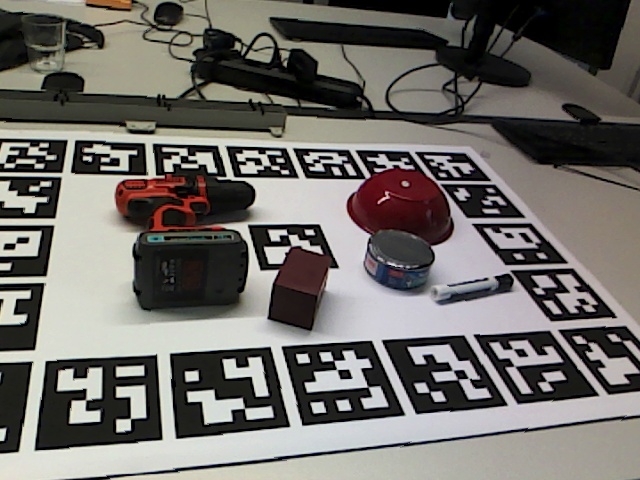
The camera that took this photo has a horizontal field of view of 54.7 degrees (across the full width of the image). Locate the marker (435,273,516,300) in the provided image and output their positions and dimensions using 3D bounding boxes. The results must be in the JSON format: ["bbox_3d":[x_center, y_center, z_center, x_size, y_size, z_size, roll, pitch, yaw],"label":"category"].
[{"bbox_3d":[0.199,0.057,0.778,0.120,0.019,0.020,-7,39,-26],"label":"marker"}]

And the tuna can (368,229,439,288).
[{"bbox_3d":[0.105,0.023,0.789,0.085,0.033,0.086,9,33,-7],"label":"tuna can"}]

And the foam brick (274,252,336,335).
[{"bbox_3d":[-0.016,0.060,0.697,0.051,0.052,0.078,14,35,1],"label":"foam brick"}]

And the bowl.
[{"bbox_3d":[0.119,-0.053,0.905,0.161,0.055,0.162,4,28,-3],"label":"bowl"}]

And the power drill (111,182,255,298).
[{"bbox_3d":[-0.154,-0.008,0.748,0.184,0.057,0.188,1,32,-21],"label":"power drill"}]
